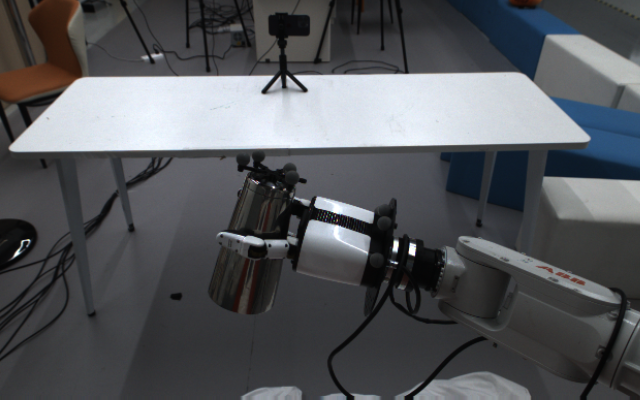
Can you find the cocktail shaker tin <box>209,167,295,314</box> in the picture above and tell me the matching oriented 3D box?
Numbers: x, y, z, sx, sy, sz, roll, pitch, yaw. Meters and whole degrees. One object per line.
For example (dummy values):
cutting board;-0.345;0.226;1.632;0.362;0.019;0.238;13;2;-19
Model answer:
cocktail shaker tin;-0.085;0.052;0.636;0.093;0.170;0.093;15;17;-5
